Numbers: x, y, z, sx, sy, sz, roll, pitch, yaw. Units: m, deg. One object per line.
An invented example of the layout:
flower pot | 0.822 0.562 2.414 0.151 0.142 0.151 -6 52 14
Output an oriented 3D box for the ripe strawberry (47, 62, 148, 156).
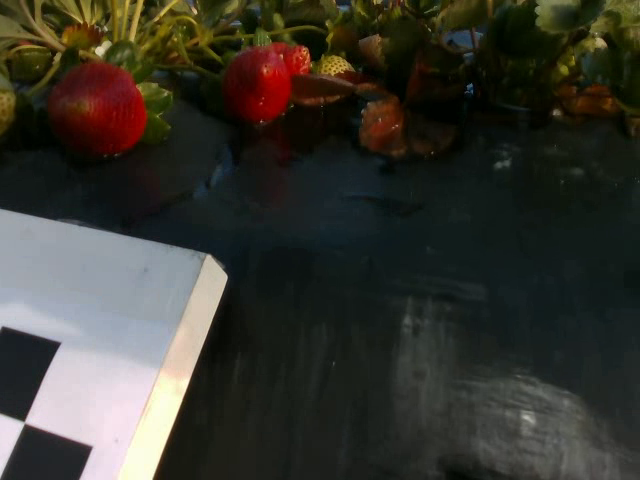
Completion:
ripe strawberry | -0.111 -0.065 0.280 0.050 0.050 0.065 -27 7 2

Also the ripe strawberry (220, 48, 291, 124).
ripe strawberry | -0.034 -0.083 0.315 0.041 0.045 0.055 45 -9 -13
